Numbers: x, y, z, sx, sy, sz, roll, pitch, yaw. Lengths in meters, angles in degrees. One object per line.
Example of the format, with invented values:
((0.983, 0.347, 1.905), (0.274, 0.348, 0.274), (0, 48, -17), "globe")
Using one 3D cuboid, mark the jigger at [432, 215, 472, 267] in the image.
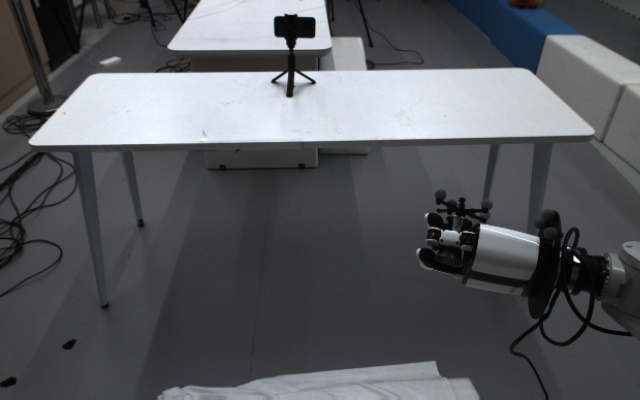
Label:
((0.207, 0.061, 0.736), (0.043, 0.043, 0.071), (13, 69, 15), "jigger")
